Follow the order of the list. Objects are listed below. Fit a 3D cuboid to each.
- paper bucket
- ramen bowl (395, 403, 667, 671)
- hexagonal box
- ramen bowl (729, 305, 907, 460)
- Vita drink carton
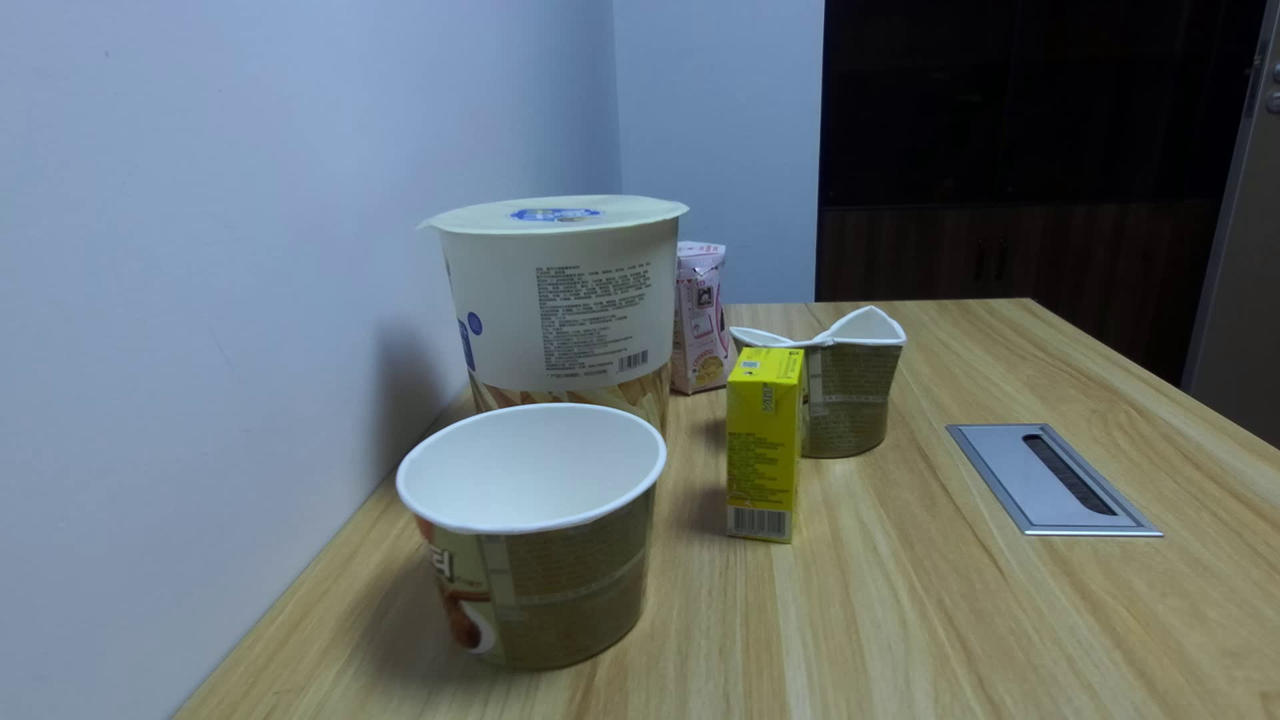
[{"bbox_3d":[-0.054,-0.017,0.548,0.198,0.194,0.198,-2,19,1],"label":"paper bucket"},{"bbox_3d":[-0.054,0.093,0.386,0.140,0.095,0.140,-1,20,1],"label":"ramen bowl"},{"bbox_3d":[0.045,-0.041,0.690,0.091,0.134,0.089,-19,21,-39],"label":"hexagonal box"},{"bbox_3d":[0.139,0.014,0.575,0.128,0.093,0.111,-2,20,0],"label":"ramen bowl"},{"bbox_3d":[0.081,0.052,0.452,0.043,0.109,0.067,3,21,16],"label":"Vita drink carton"}]
